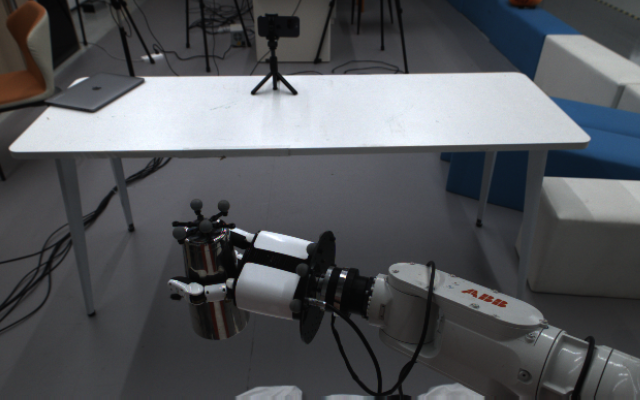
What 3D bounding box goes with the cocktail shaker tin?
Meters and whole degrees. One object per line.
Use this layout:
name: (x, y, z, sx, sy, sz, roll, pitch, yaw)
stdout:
cocktail shaker tin: (-0.156, 0.113, 0.717, 0.093, 0.170, 0.093, -1, 32, 1)
